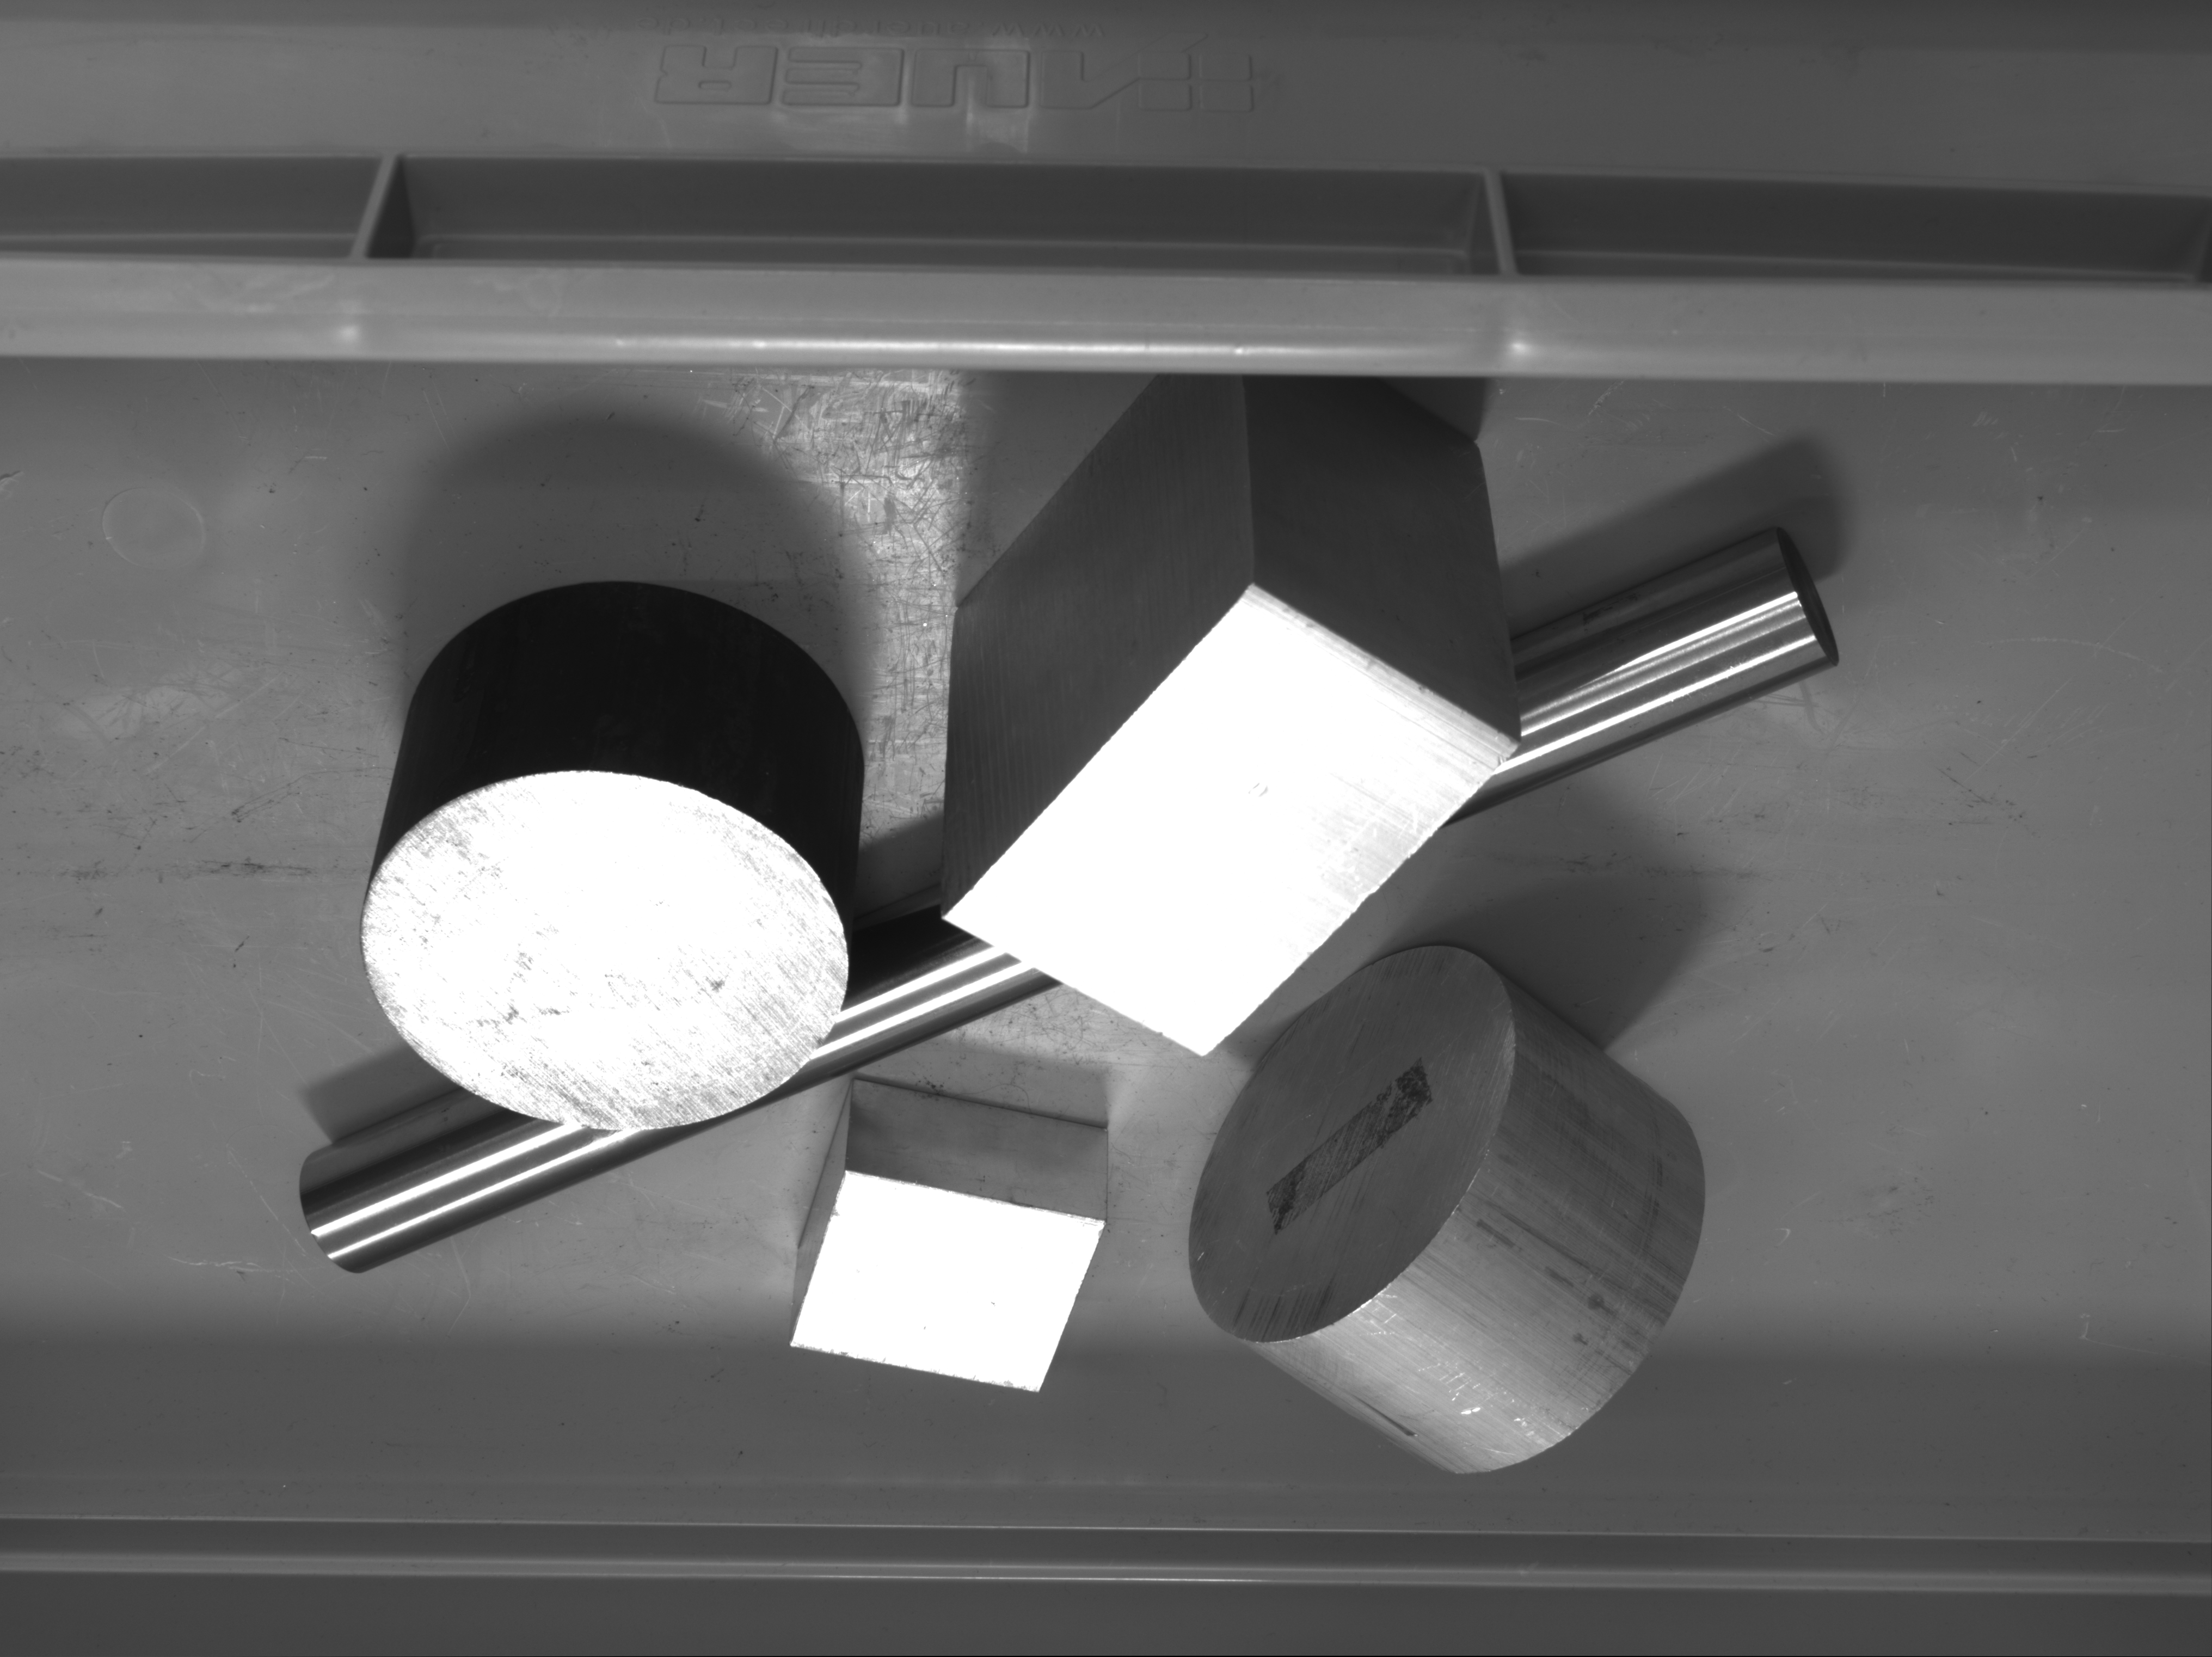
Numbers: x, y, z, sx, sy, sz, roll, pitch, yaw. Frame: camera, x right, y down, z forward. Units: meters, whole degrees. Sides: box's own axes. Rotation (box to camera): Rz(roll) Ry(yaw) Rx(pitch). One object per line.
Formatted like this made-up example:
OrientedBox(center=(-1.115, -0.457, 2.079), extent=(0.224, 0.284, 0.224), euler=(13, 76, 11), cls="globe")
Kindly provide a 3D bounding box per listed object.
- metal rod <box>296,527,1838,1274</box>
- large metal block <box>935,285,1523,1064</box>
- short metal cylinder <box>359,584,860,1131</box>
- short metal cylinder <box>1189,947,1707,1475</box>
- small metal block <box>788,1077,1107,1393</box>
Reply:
OrientedBox(center=(-0.015, 0.017, 0.653), extent=(0.299, 0.025, 0.025), euler=(-23, 126, 18), cls="metal rod")
OrientedBox(center=(0.018, -0.024, 0.582), extent=(0.050, 0.080, 0.080), euler=(29, 124, -22), cls="large metal block")
OrientedBox(center=(-0.083, 0.005, 0.626), extent=(0.080, 0.050, 0.080), euler=(0, 130, 0), cls="short metal cylinder")
OrientedBox(center=(0.061, 0.069, 0.660), extent=(0.050, 0.080, 0.080), euler=(36, 122, -26), cls="short metal cylinder")
OrientedBox(center=(-0.030, 0.078, 0.703), extent=(0.050, 0.025, 0.050), euler=(12, 129, -10), cls="small metal block")
